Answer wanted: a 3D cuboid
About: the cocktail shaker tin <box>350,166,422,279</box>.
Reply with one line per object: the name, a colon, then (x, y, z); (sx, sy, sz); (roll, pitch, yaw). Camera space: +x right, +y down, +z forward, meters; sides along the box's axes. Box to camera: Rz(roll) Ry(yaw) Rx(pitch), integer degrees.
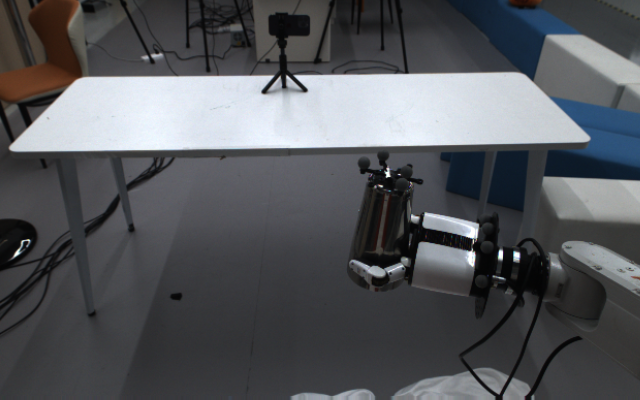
cocktail shaker tin: (0.094, 0.043, 0.722); (0.093, 0.170, 0.093); (3, 34, -2)
